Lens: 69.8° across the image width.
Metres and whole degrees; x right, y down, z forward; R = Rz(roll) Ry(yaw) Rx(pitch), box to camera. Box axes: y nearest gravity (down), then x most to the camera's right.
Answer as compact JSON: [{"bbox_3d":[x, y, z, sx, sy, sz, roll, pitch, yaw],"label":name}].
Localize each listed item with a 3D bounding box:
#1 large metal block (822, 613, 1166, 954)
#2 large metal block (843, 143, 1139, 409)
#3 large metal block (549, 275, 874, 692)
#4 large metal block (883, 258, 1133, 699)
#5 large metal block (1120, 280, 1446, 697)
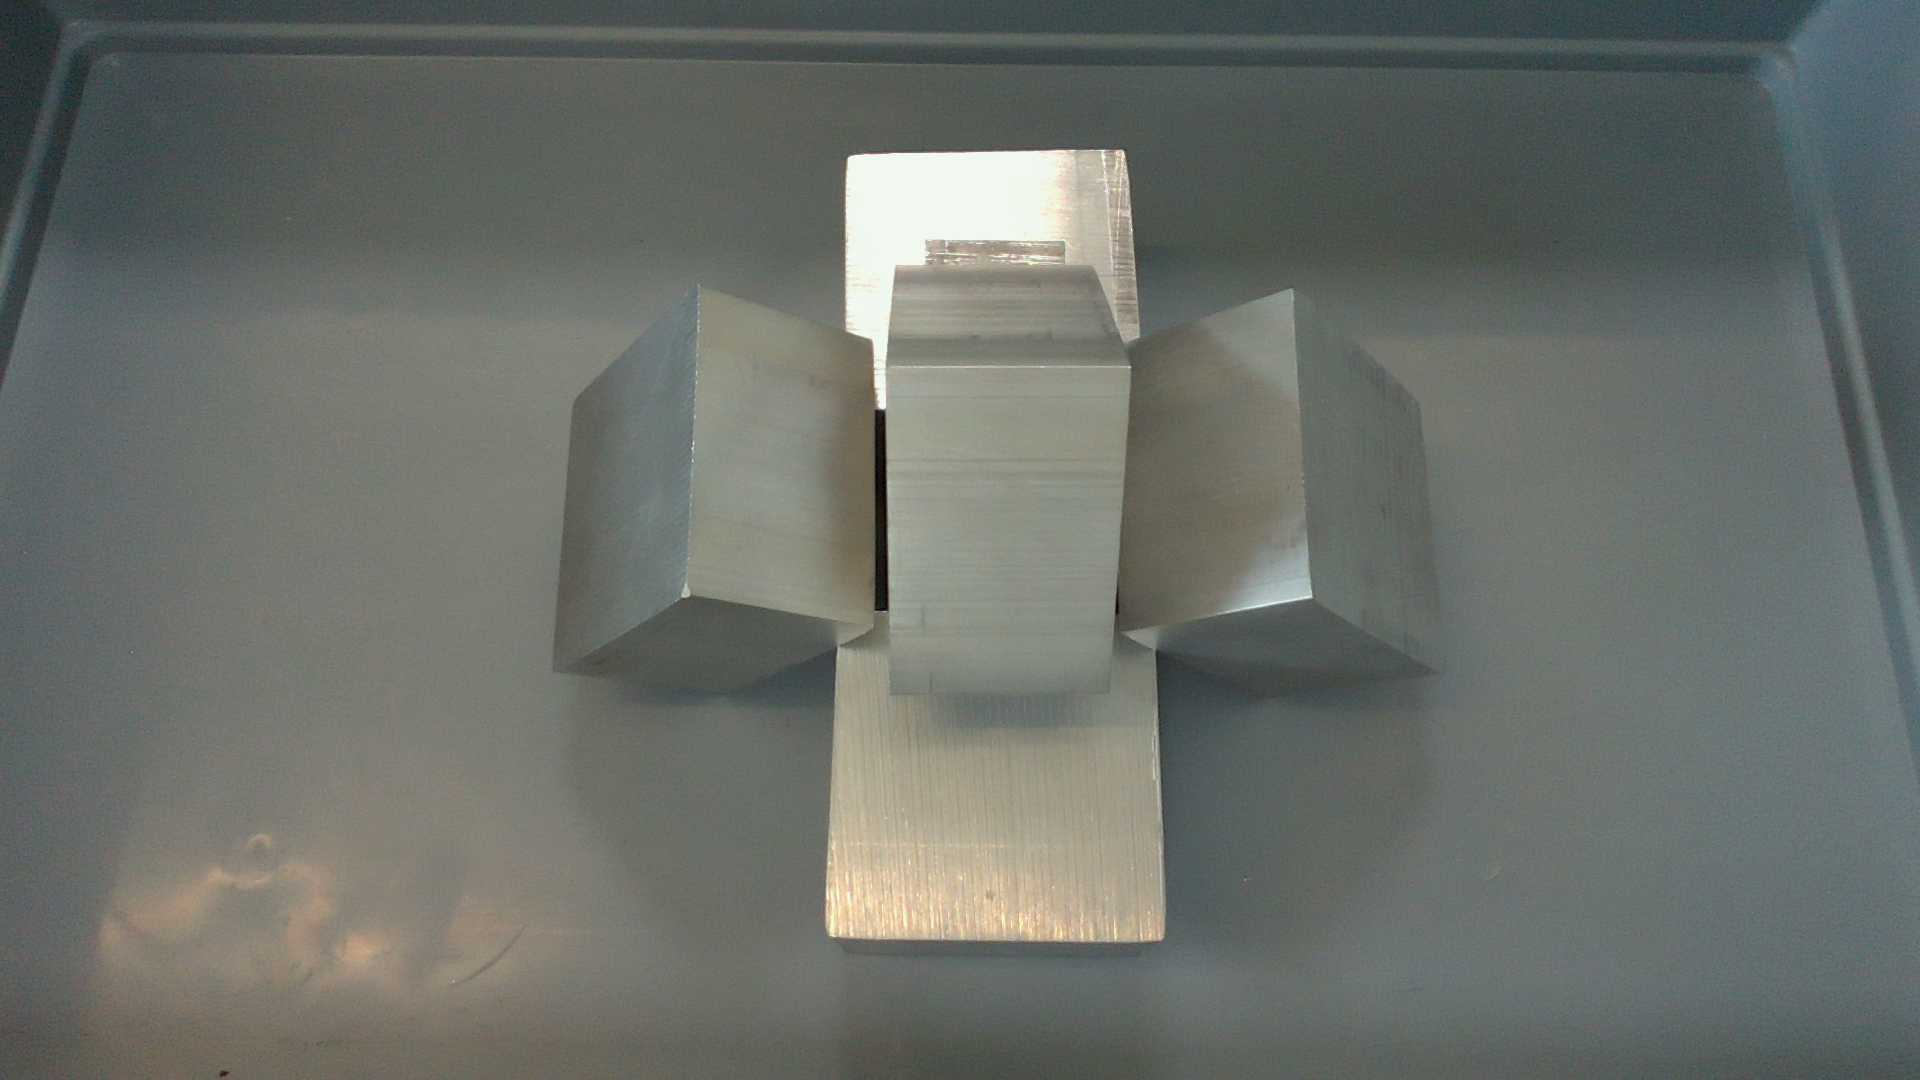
[{"bbox_3d":[0.009,0.065,0.357,0.080,0.050,0.080,1,70,0],"label":"large metal block"},{"bbox_3d":[0.008,-0.066,0.402,0.080,0.050,0.080,-1,70,-1],"label":"large metal block"},{"bbox_3d":[-0.065,-0.010,0.360,0.050,0.080,0.080,13,66,-34],"label":"large metal block"},{"bbox_3d":[0.009,-0.018,0.328,0.050,0.080,0.080,0,26,-1],"label":"large metal block"},{"bbox_3d":[0.084,-0.009,0.360,0.050,0.080,0.080,-14,65,37],"label":"large metal block"}]
